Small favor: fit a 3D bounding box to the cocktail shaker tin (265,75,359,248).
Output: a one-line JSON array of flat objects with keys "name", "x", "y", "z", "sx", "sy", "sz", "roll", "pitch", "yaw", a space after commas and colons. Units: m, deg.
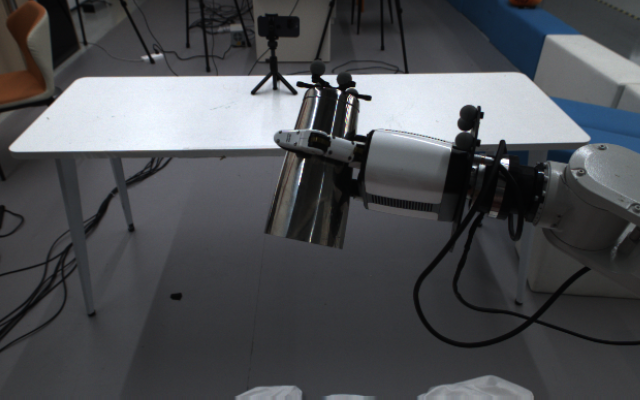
[{"name": "cocktail shaker tin", "x": -0.001, "y": -0.036, "z": 0.554, "sx": 0.093, "sy": 0.170, "sz": 0.093, "roll": 11, "pitch": -5, "yaw": 1}]
